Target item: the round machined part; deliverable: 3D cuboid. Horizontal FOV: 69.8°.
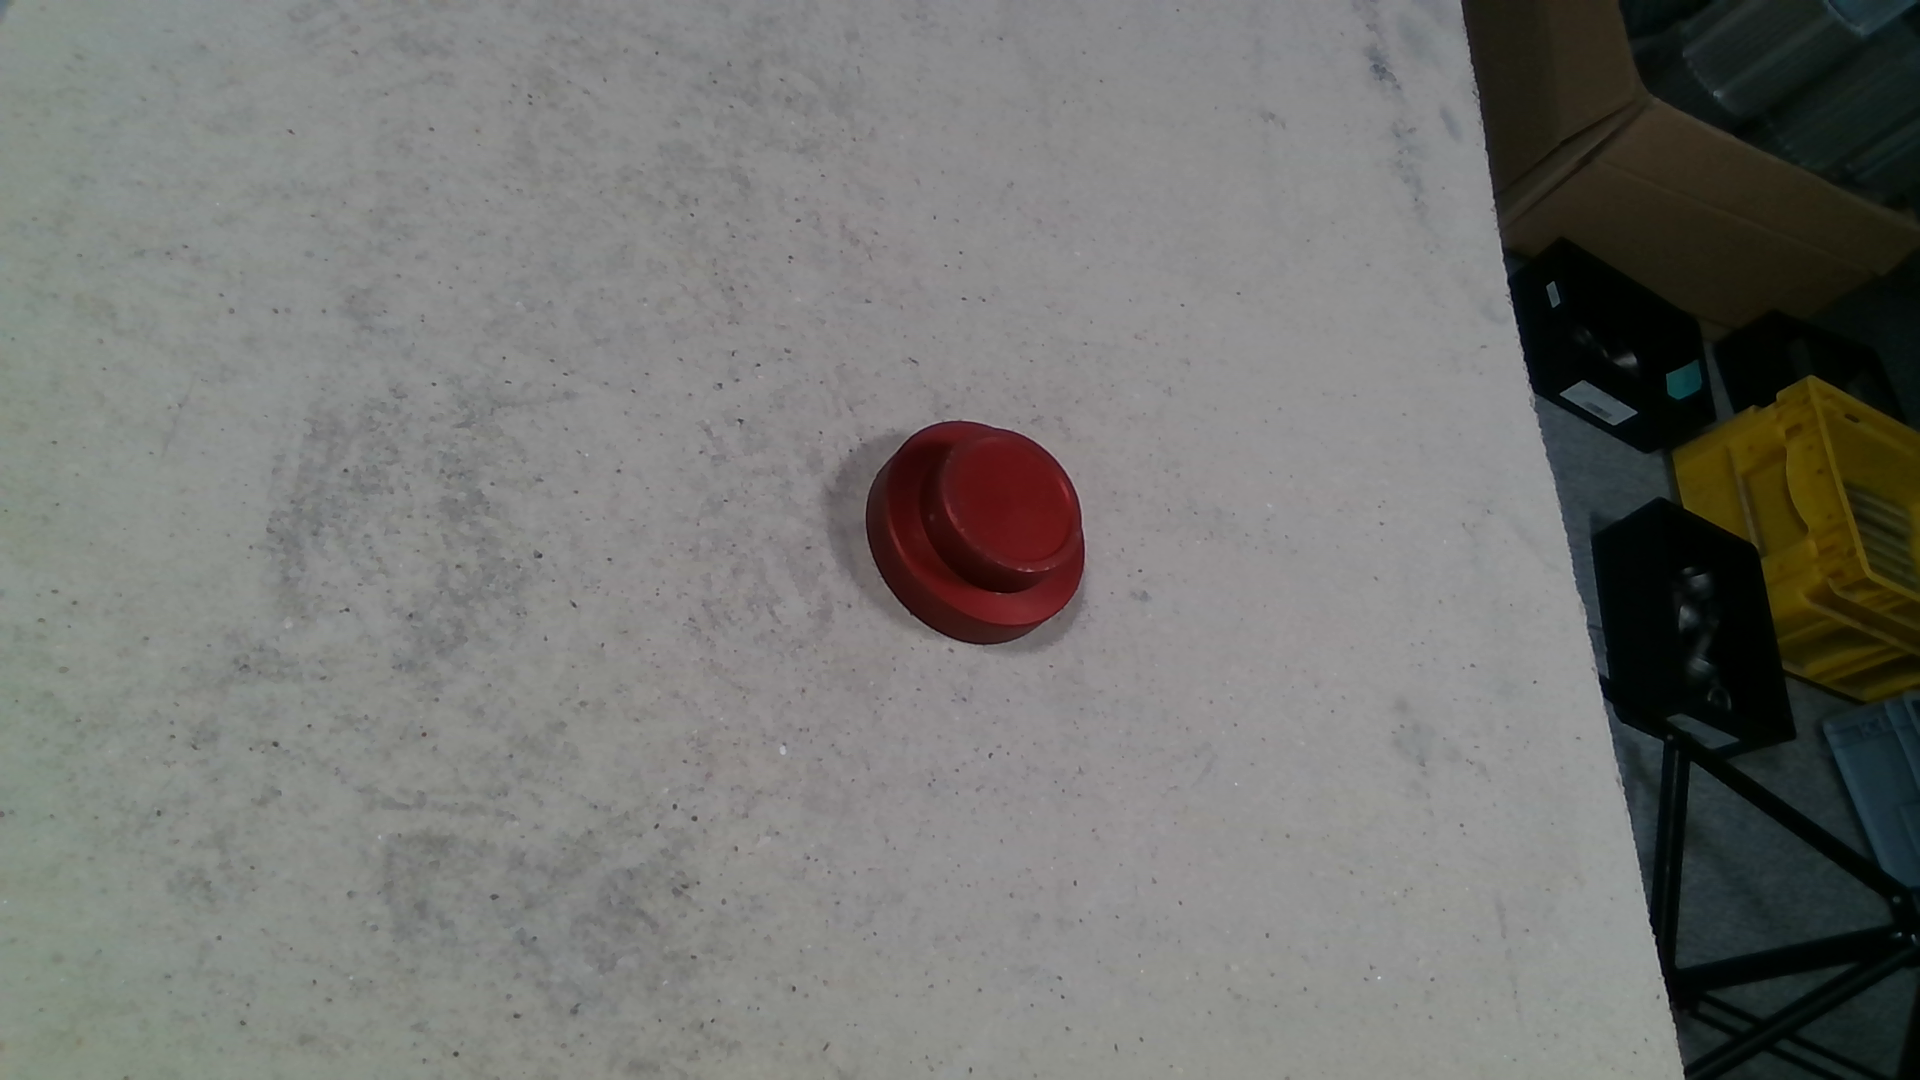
[{"bbox_3d":[0.012,-0.009,0.587,0.098,0.042,0.098,14,59,-25],"label":"round machined part"}]
